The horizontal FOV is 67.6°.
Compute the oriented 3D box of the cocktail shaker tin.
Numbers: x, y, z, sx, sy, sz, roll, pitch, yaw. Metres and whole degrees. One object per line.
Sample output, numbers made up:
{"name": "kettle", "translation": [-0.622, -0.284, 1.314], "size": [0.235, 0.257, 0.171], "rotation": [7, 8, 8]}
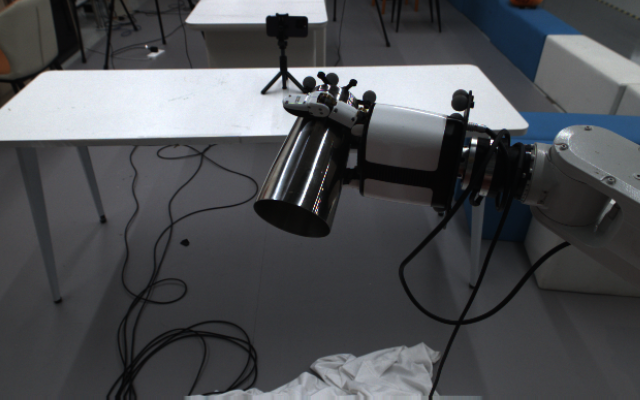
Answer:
{"name": "cocktail shaker tin", "translation": [-0.004, -0.054, 0.577], "size": [0.093, 0.093, 0.170], "rotation": [12, 65, 14]}
